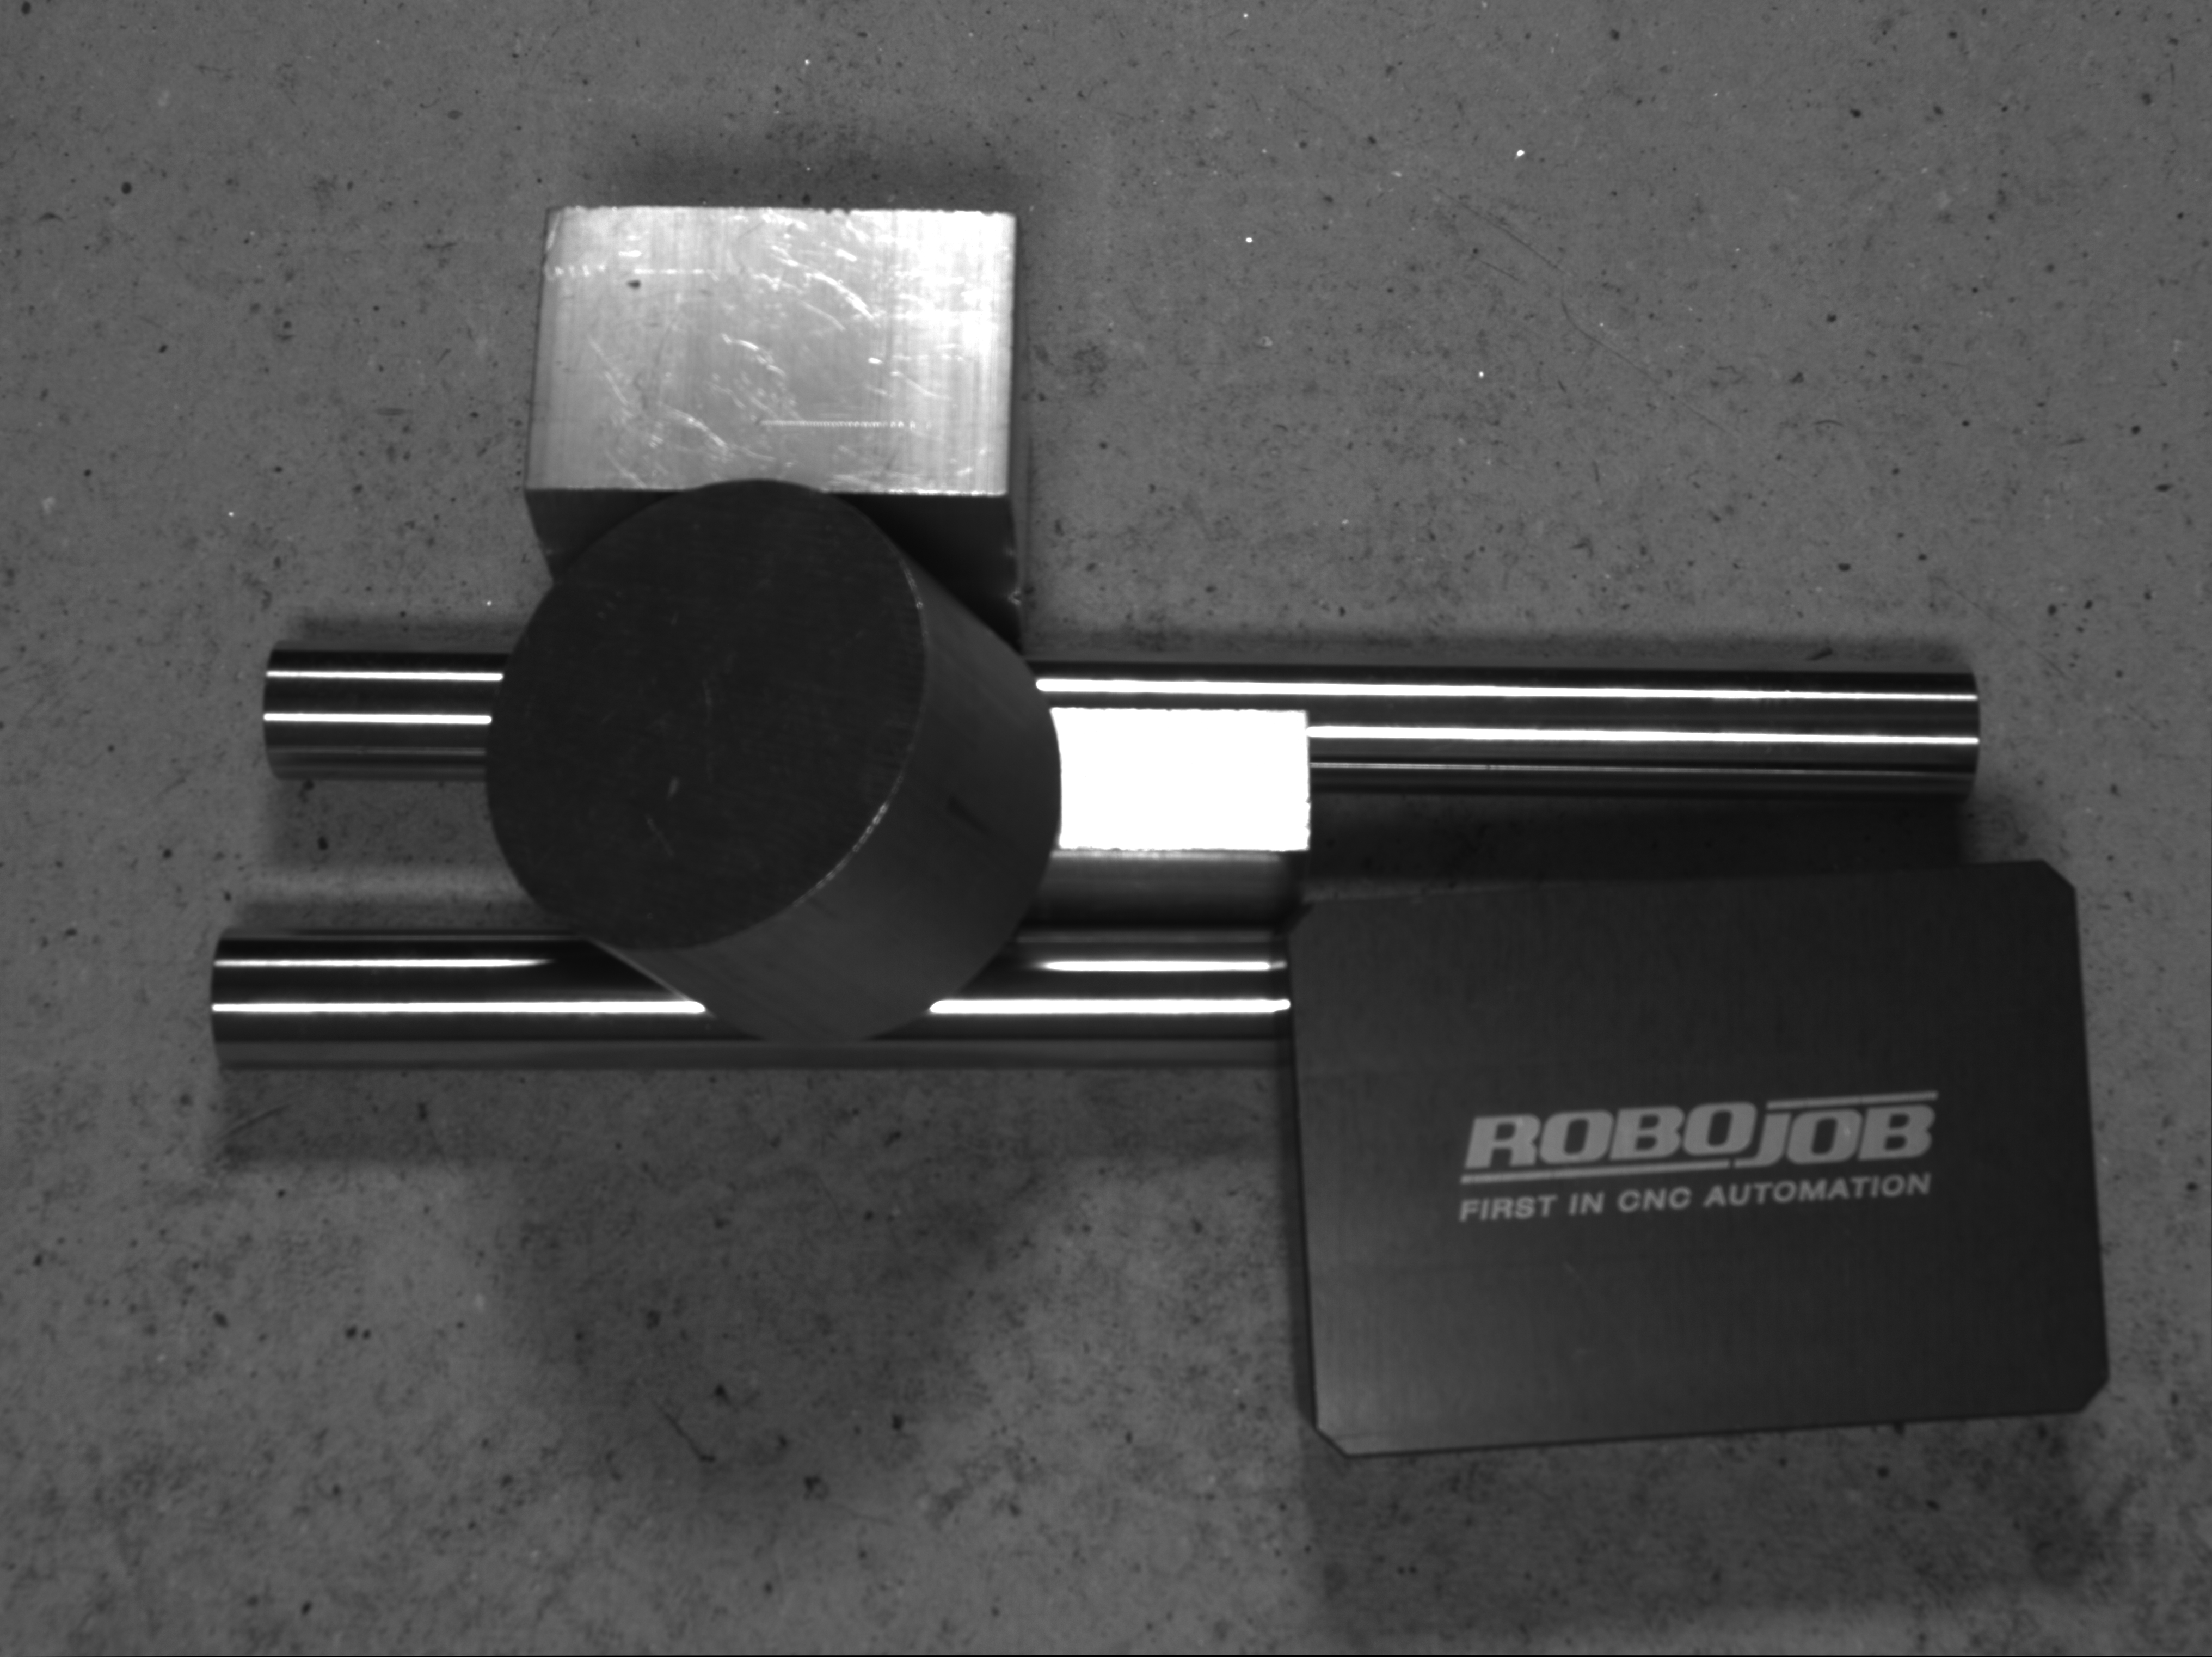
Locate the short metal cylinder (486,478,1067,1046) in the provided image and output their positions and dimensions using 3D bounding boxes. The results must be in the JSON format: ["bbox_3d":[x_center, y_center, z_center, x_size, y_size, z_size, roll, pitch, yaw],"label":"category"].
[{"bbox_3d":[-0.053,-0.010,0.597,0.080,0.050,0.080,-10,66,22],"label":"short metal cylinder"}]

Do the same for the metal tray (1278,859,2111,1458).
[{"bbox_3d":[0.096,0.054,0.608,0.130,0.030,0.090,-3,87,-2],"label":"metal tray"}]

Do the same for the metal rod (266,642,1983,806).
[{"bbox_3d":[0.003,-0.019,0.652,0.300,0.025,0.025,1,70,0],"label":"metal rod"}]

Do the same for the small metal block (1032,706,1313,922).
[{"bbox_3d":[0.009,0.000,0.631,0.050,0.050,0.025,1,70,0],"label":"small metal block"}]

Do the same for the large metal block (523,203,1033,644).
[{"bbox_3d":[-0.054,-0.067,0.641,0.080,0.080,0.050,1,70,0],"label":"large metal block"}]

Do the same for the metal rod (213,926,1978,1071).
[{"bbox_3d":[-0.002,0.029,0.635,0.300,0.025,0.025,0,70,0],"label":"metal rod"}]
